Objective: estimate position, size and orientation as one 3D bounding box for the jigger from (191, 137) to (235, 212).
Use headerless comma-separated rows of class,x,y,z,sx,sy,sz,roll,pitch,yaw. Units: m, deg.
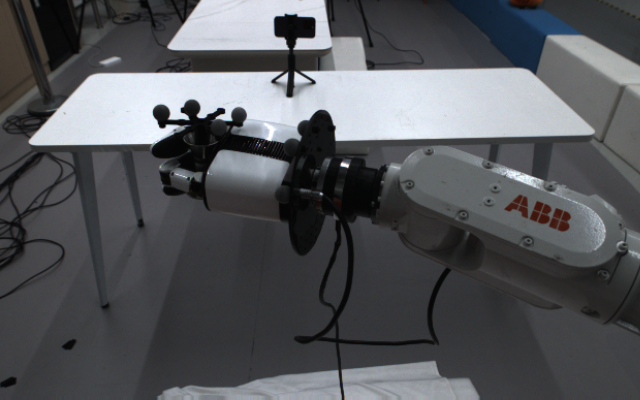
jigger,-0.129,-0.041,0.557,0.043,0.071,0.043,4,31,-2
